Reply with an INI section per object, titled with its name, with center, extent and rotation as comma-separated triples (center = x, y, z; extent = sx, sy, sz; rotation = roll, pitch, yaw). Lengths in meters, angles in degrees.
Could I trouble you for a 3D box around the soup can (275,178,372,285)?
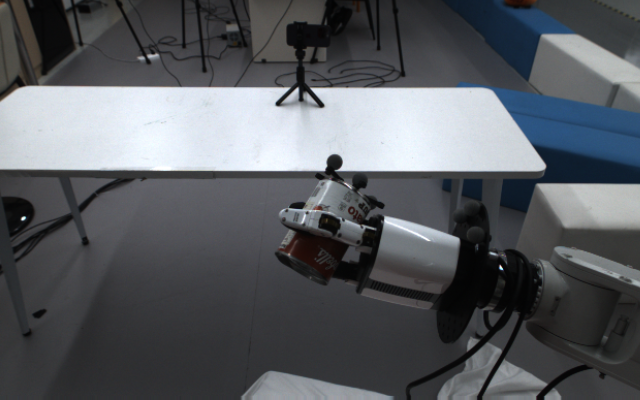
[soup can]
center = 0.006, 0.034, 0.537
extent = 0.067, 0.067, 0.101
rotation = 23, 72, 27
